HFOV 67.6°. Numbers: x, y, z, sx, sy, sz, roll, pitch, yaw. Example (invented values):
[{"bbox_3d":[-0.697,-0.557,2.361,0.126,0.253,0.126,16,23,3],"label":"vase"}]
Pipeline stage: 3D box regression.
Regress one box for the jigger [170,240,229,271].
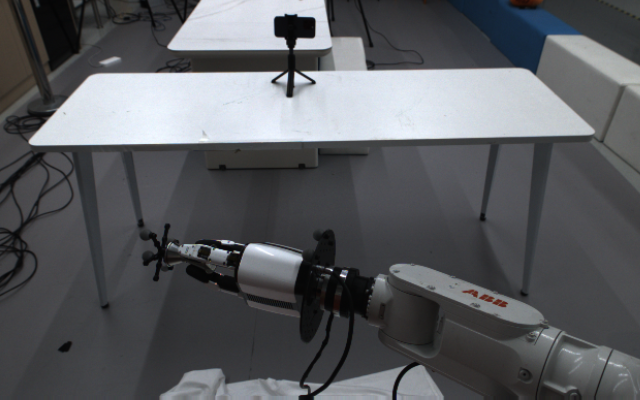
[{"bbox_3d":[-0.185,0.081,0.729,0.071,0.043,0.043,5,34,14],"label":"jigger"}]
